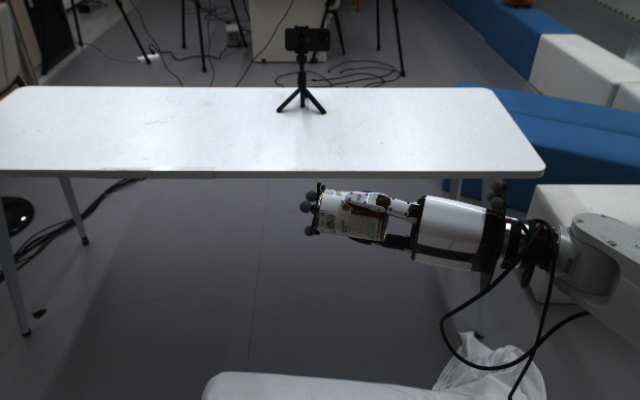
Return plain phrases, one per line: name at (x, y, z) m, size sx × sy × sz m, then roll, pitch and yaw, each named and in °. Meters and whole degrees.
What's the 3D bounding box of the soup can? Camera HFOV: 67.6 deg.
soup can at (0.052, 0.022, 0.720) m, size 0.101 × 0.067 × 0.067 m, roll 8°, pitch 35°, yaw 9°
